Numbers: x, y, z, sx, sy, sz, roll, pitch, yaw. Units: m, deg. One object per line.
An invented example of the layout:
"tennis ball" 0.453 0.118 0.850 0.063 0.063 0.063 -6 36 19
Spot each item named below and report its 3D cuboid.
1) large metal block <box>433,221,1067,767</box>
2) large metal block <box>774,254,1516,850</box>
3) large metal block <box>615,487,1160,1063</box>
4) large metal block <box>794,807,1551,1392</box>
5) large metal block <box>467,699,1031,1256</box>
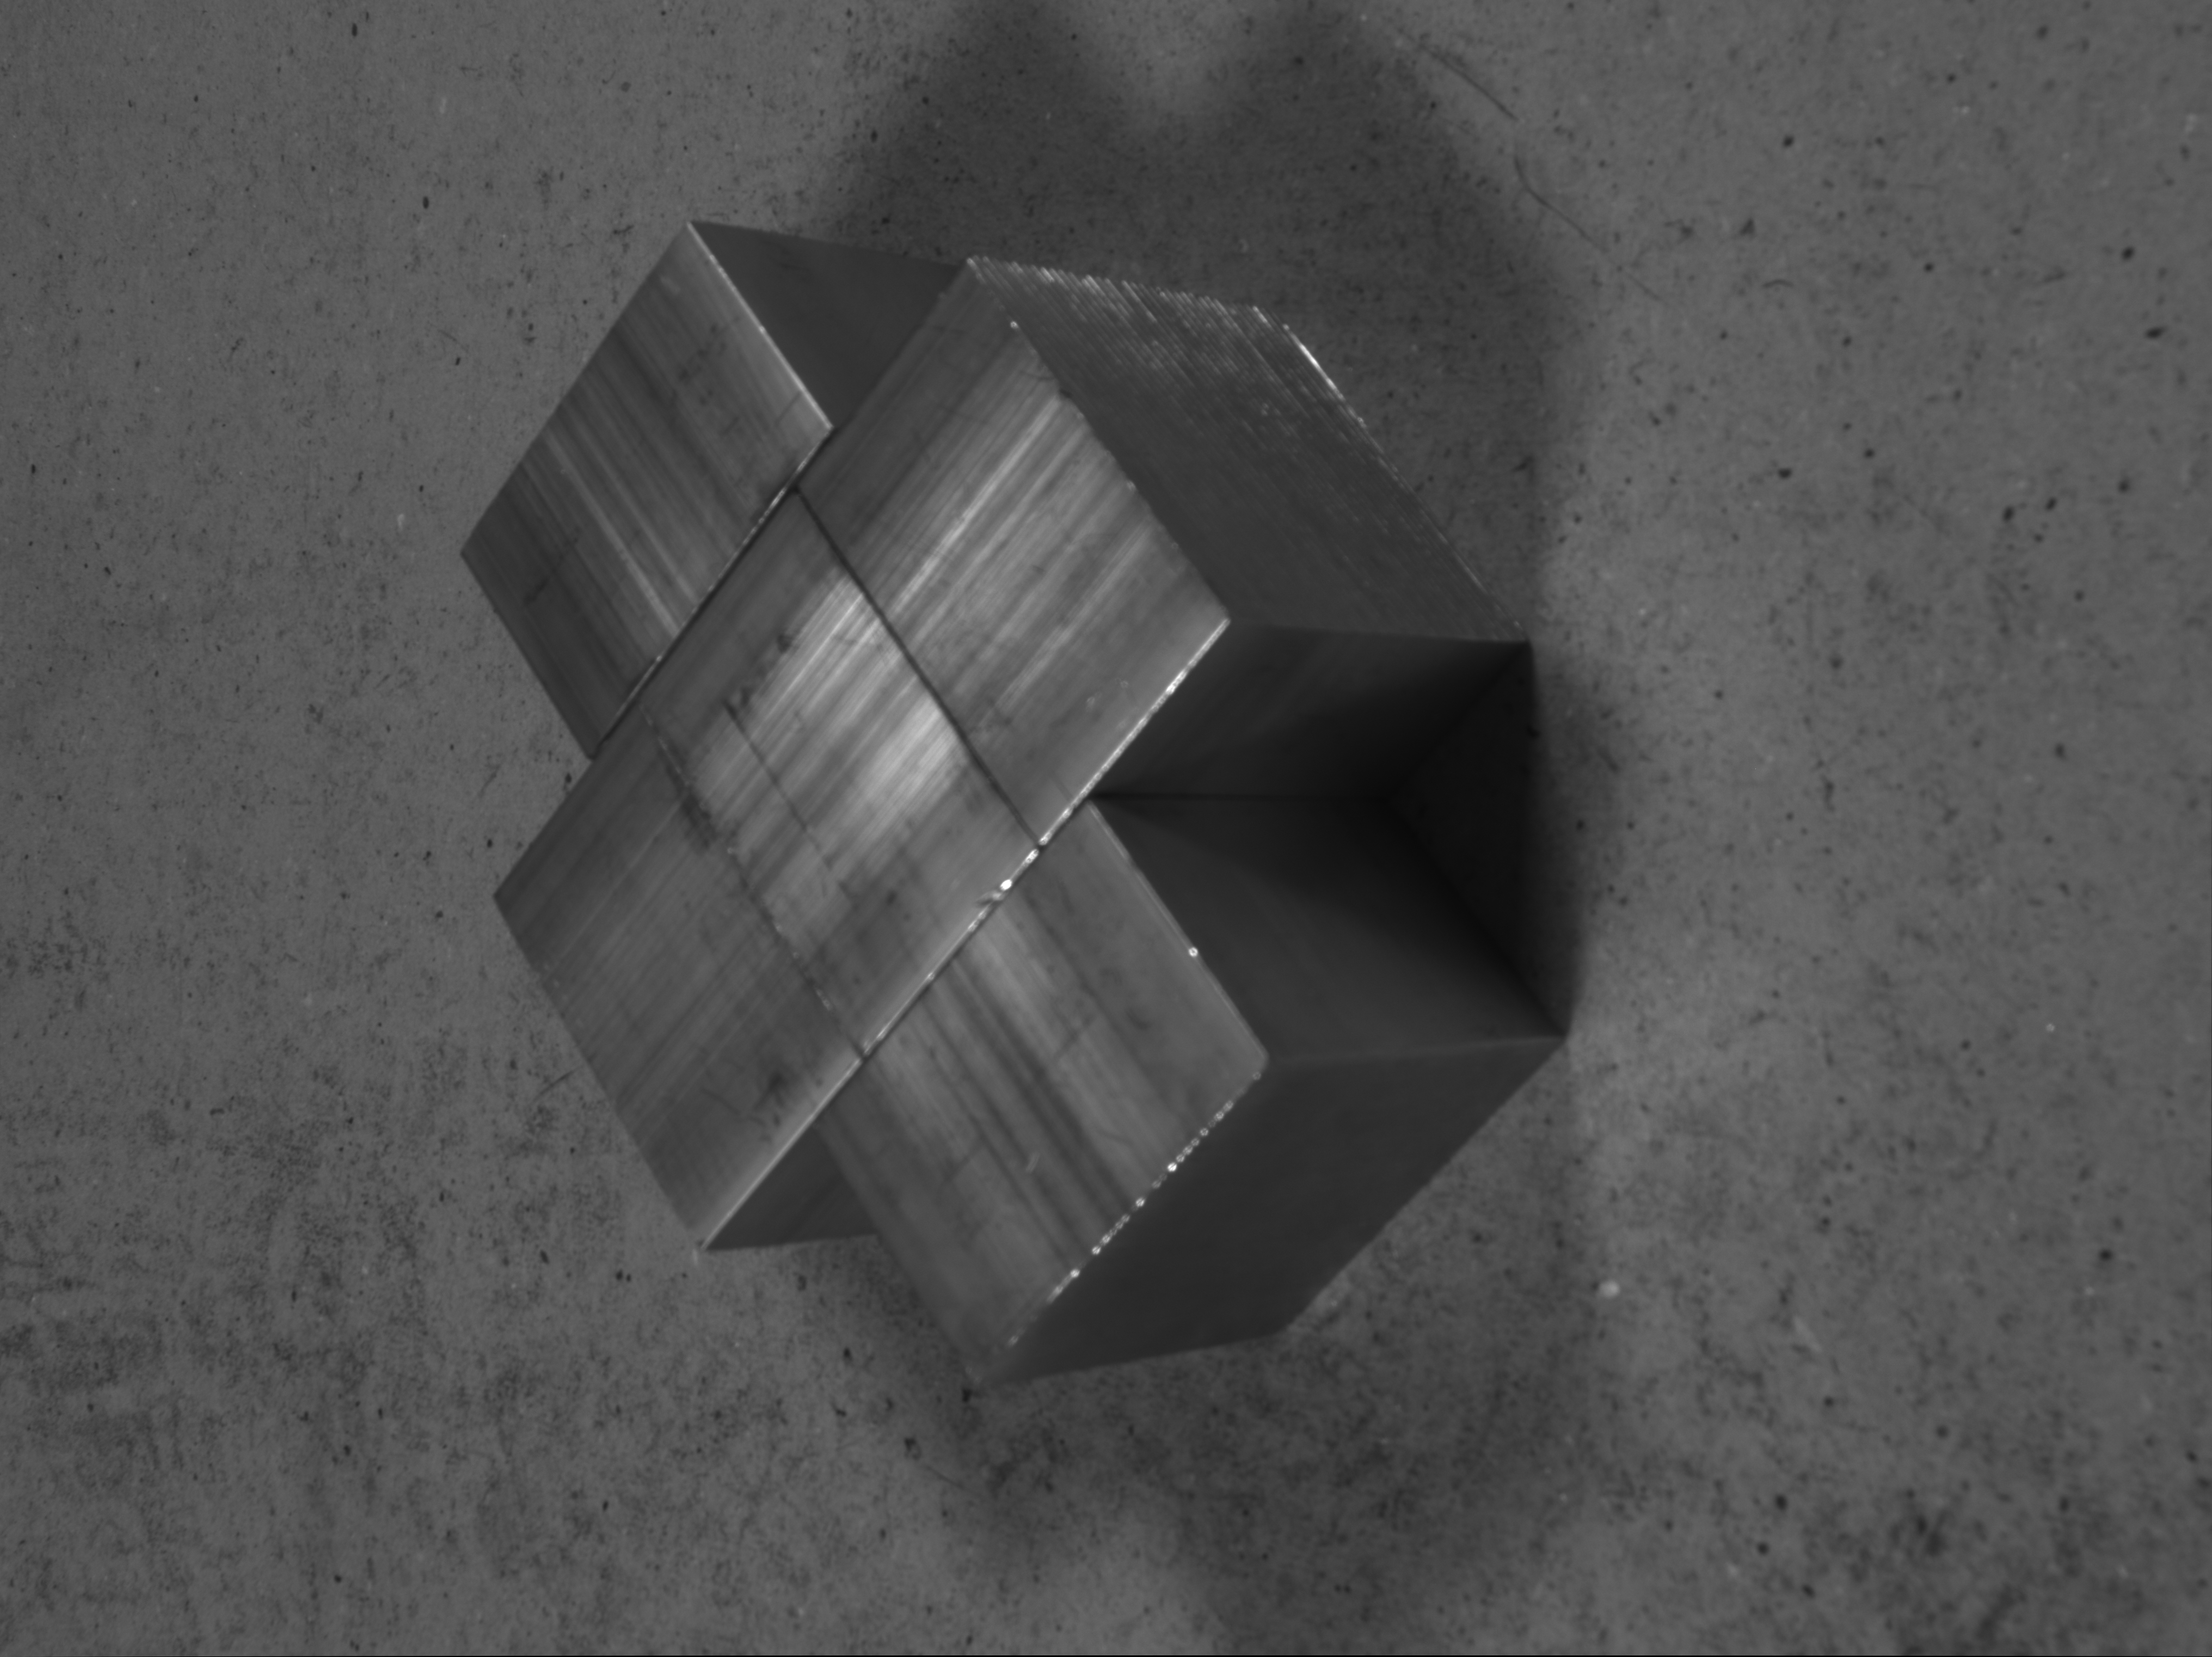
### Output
"large metal block" -0.058 -0.056 0.649 0.080 0.080 0.050 -50 61 28
"large metal block" 0.007 -0.043 0.596 0.050 0.080 0.080 -50 61 28
"large metal block" -0.022 -0.009 0.620 0.050 0.080 0.080 -50 61 28
"large metal block" 0.011 0.042 0.593 0.080 0.080 0.050 -50 61 28
"large metal block" -0.051 0.025 0.644 0.050 0.080 0.080 -50 61 28
